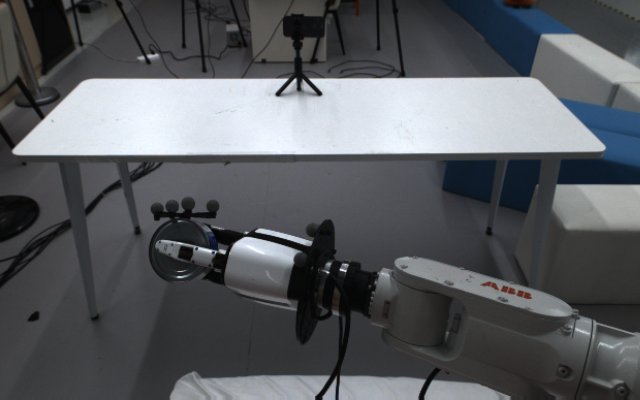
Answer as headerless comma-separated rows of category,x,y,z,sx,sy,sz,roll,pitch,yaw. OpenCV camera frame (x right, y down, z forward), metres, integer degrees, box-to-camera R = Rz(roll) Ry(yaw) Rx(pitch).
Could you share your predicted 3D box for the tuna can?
tuna can,-0.176,0.070,0.647,0.085,0.085,0.034,9,-6,10
